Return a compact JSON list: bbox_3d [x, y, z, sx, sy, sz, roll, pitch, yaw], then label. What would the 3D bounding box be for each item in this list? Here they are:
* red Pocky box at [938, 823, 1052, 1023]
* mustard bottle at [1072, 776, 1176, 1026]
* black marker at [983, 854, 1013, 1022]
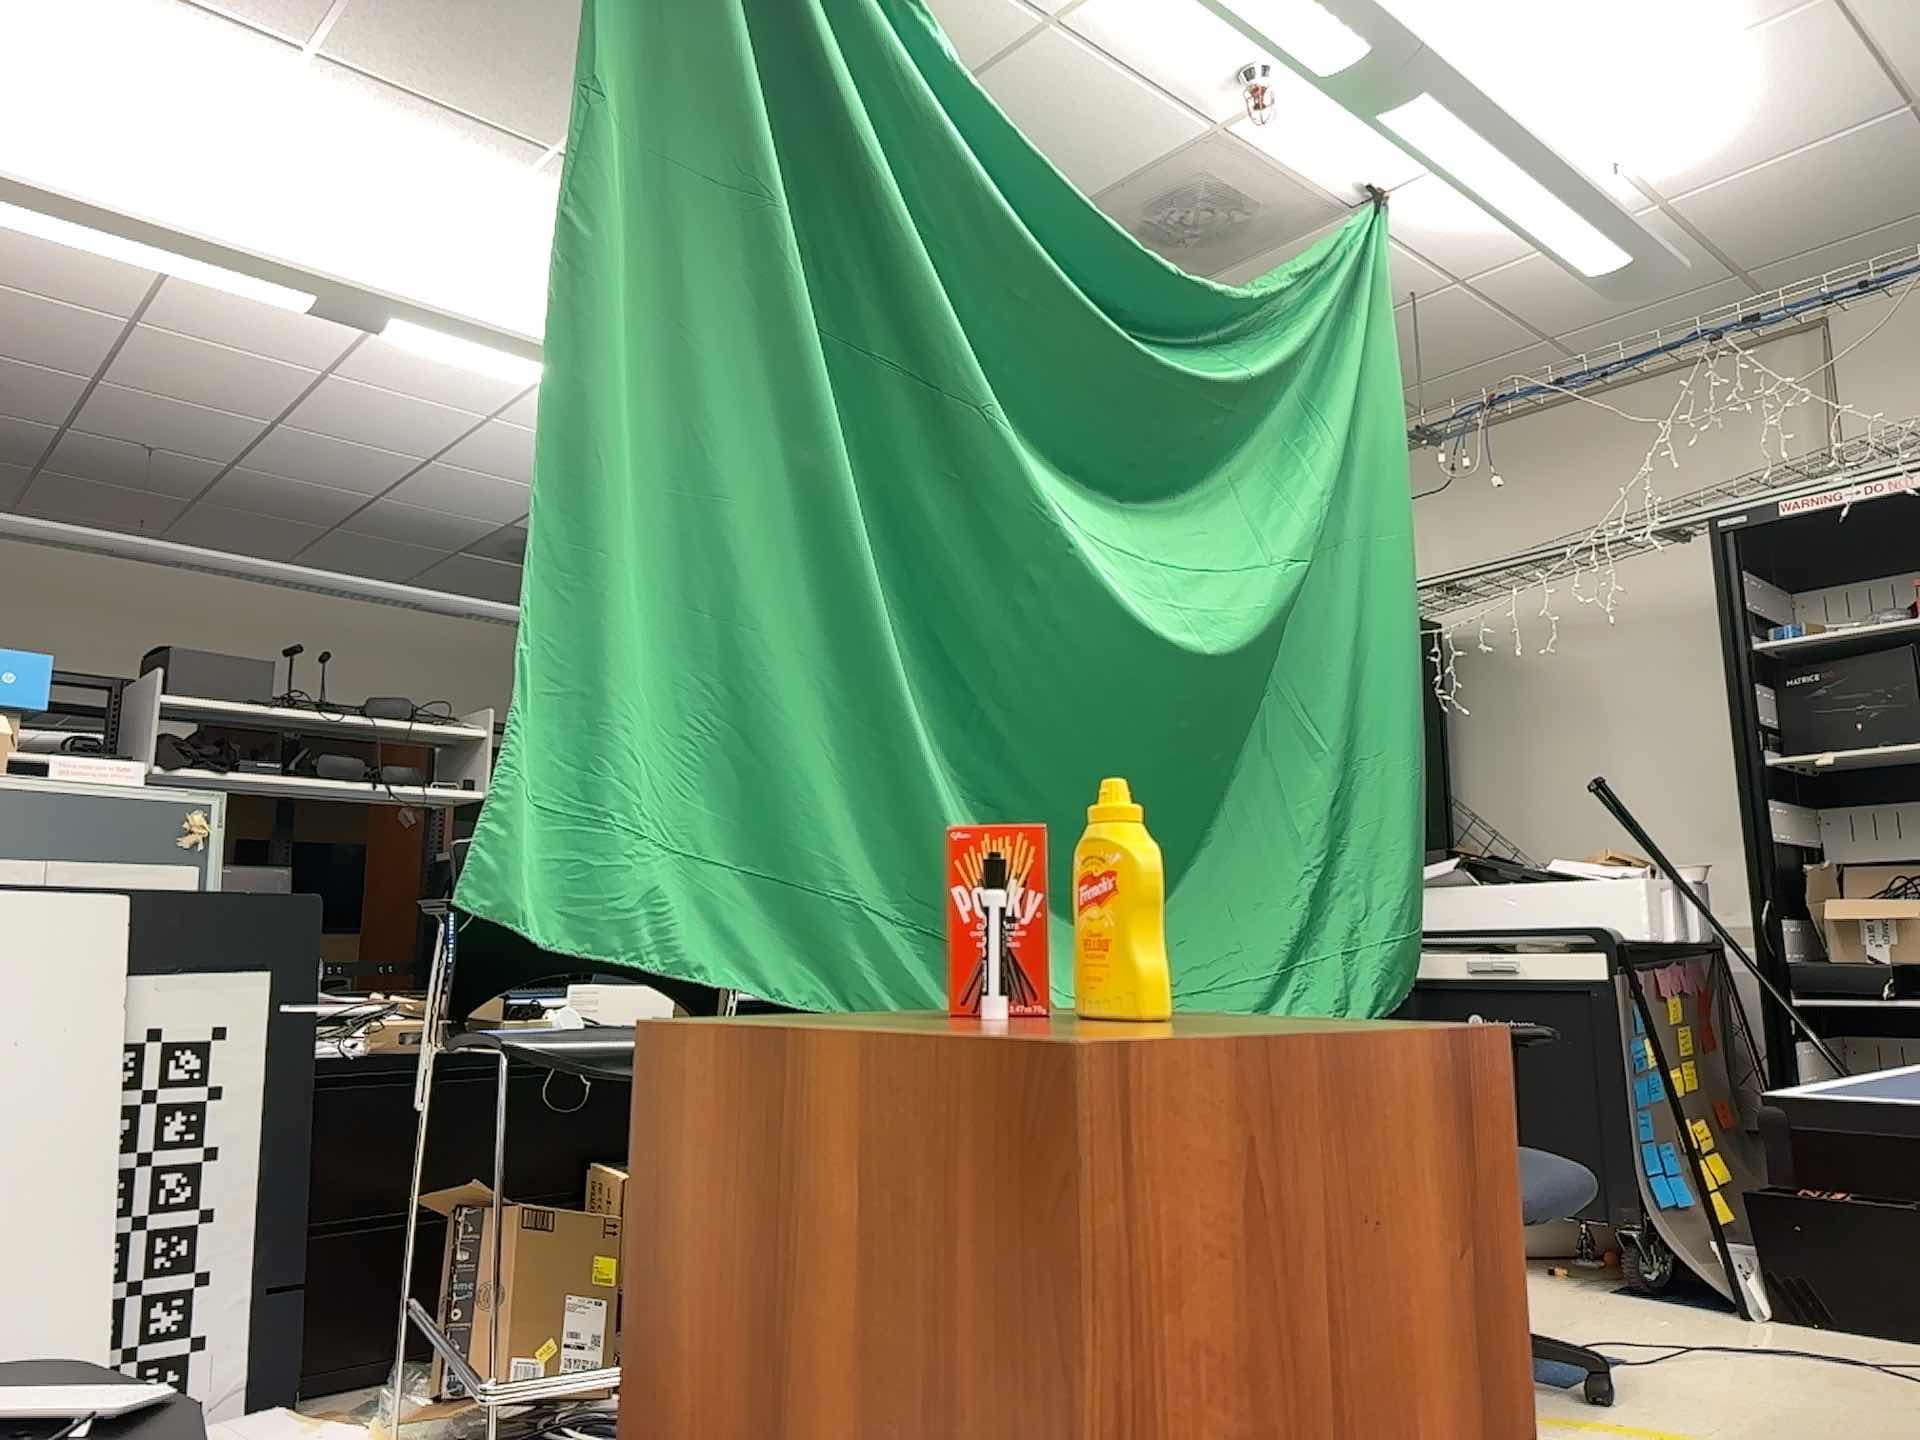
[{"bbox_3d":[0.027,0.161,1.070,0.083,0.155,0.028,-5,-8,12],"label":"red Pocky box"},{"bbox_3d":[0.119,0.133,1.011,0.054,0.184,0.092,1,-9,-22],"label":"mustard bottle"},{"bbox_3d":[0.028,0.160,0.991,0.020,0.121,0.020,2,-10,0],"label":"black marker"}]
